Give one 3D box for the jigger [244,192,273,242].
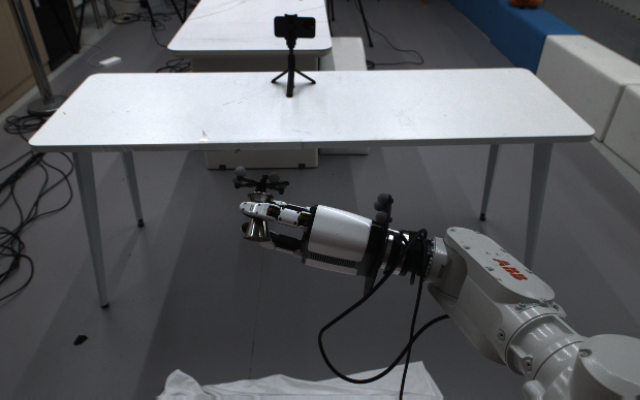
[{"bbox_3d":[-0.093,0.026,0.725,0.043,0.043,0.071,3,76,1],"label":"jigger"}]
